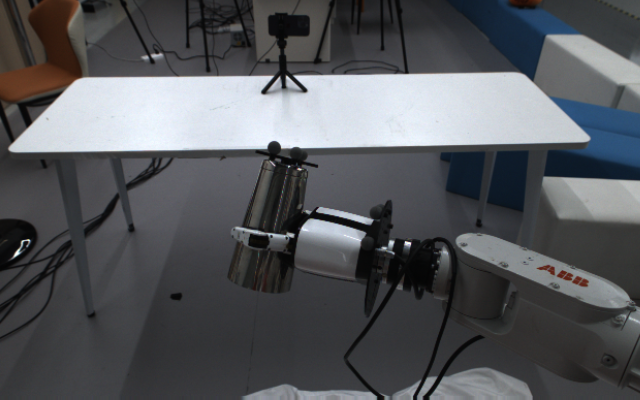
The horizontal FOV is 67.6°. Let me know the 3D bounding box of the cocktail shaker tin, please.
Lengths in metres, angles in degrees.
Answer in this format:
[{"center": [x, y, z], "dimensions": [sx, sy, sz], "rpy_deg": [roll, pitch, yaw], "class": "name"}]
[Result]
[{"center": [-0.066, 0.034, 0.678], "dimensions": [0.093, 0.170, 0.093], "rpy_deg": [13, 4, -1], "class": "cocktail shaker tin"}]
